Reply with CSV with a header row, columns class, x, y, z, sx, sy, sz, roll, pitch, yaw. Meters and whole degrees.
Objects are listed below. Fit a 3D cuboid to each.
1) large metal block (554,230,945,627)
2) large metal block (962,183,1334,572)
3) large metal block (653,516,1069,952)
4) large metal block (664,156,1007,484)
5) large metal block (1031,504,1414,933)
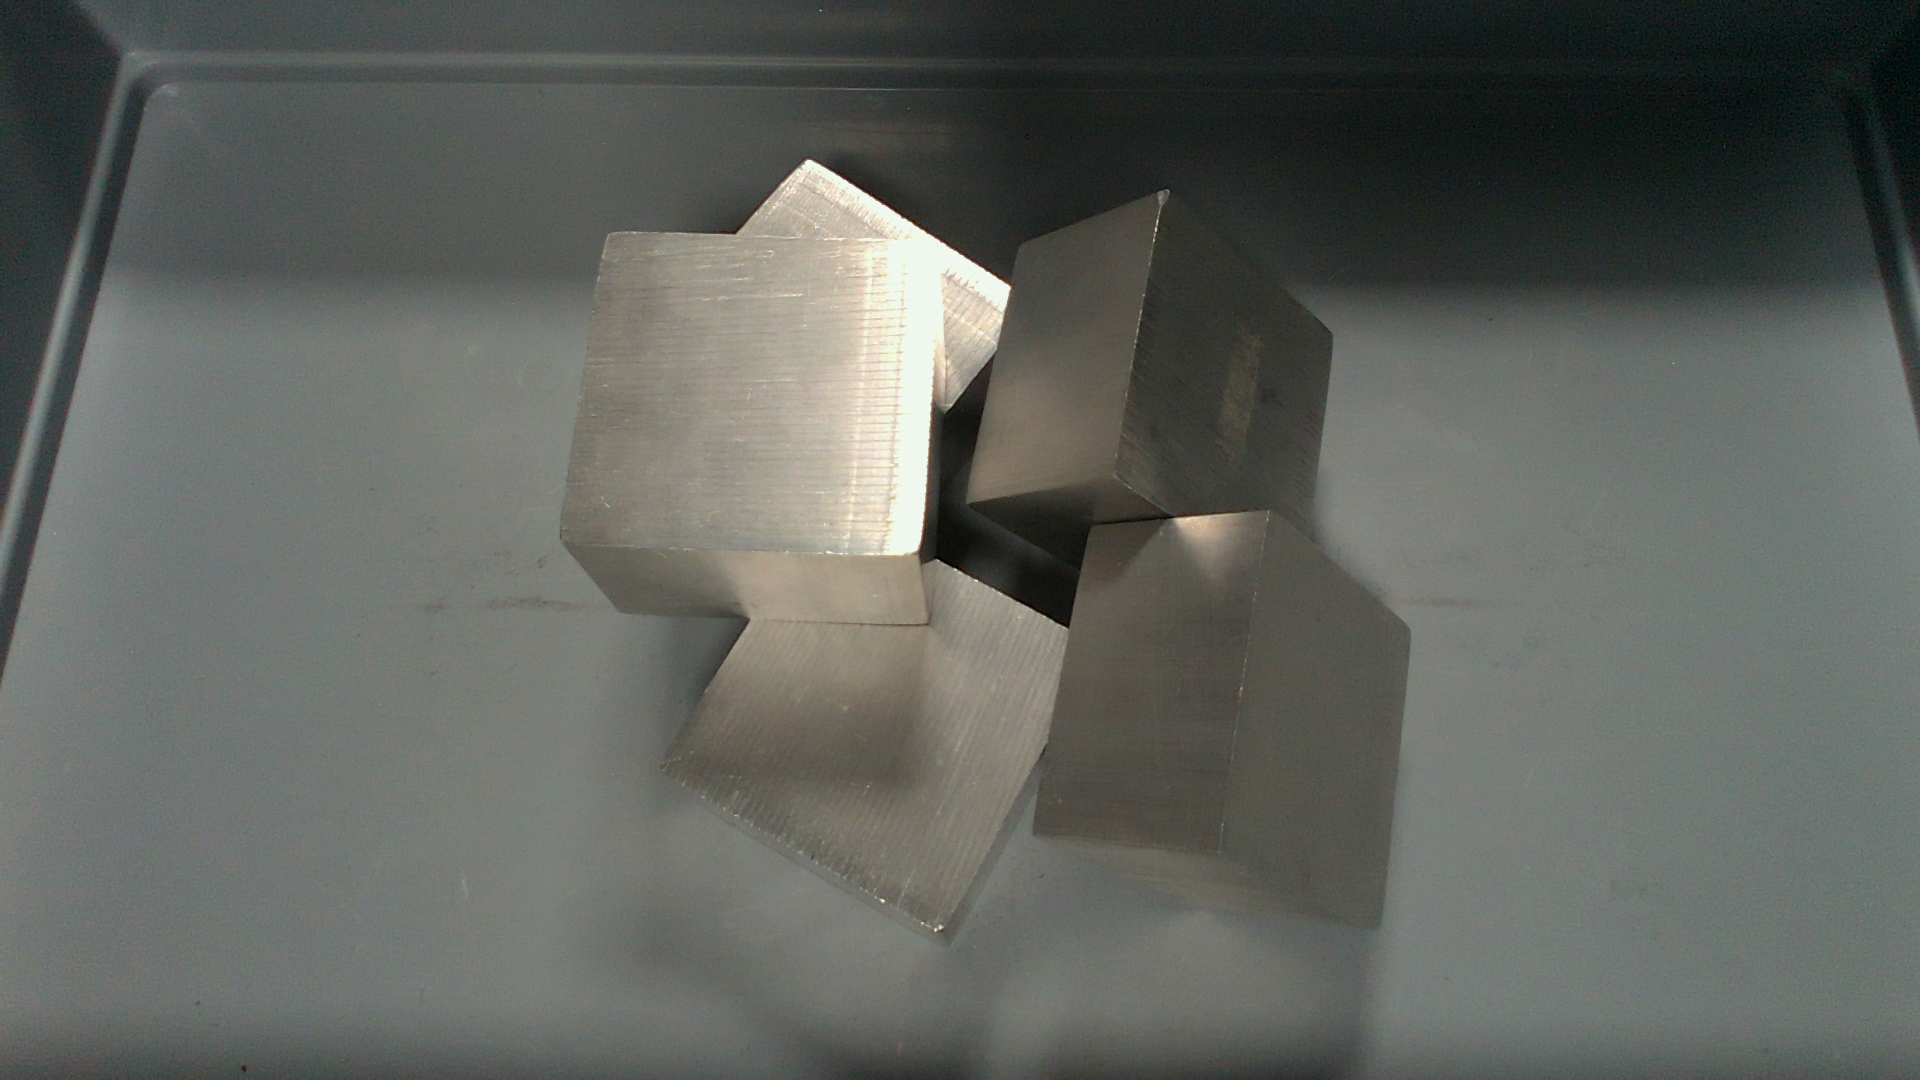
class,x,y,z,sx,sy,sz,roll,pitch,yaw
large metal block,-0.046,-0.026,0.335,0.080,0.050,0.080,2,69,2
large metal block,0.053,-0.034,0.370,0.080,0.050,0.080,28,65,-38
large metal block,-0.019,0.049,0.359,0.080,0.050,0.080,28,72,10
large metal block,-0.035,-0.049,0.399,0.080,0.050,0.080,34,74,12
large metal block,0.068,0.046,0.340,0.050,0.080,0.080,-5,64,41
